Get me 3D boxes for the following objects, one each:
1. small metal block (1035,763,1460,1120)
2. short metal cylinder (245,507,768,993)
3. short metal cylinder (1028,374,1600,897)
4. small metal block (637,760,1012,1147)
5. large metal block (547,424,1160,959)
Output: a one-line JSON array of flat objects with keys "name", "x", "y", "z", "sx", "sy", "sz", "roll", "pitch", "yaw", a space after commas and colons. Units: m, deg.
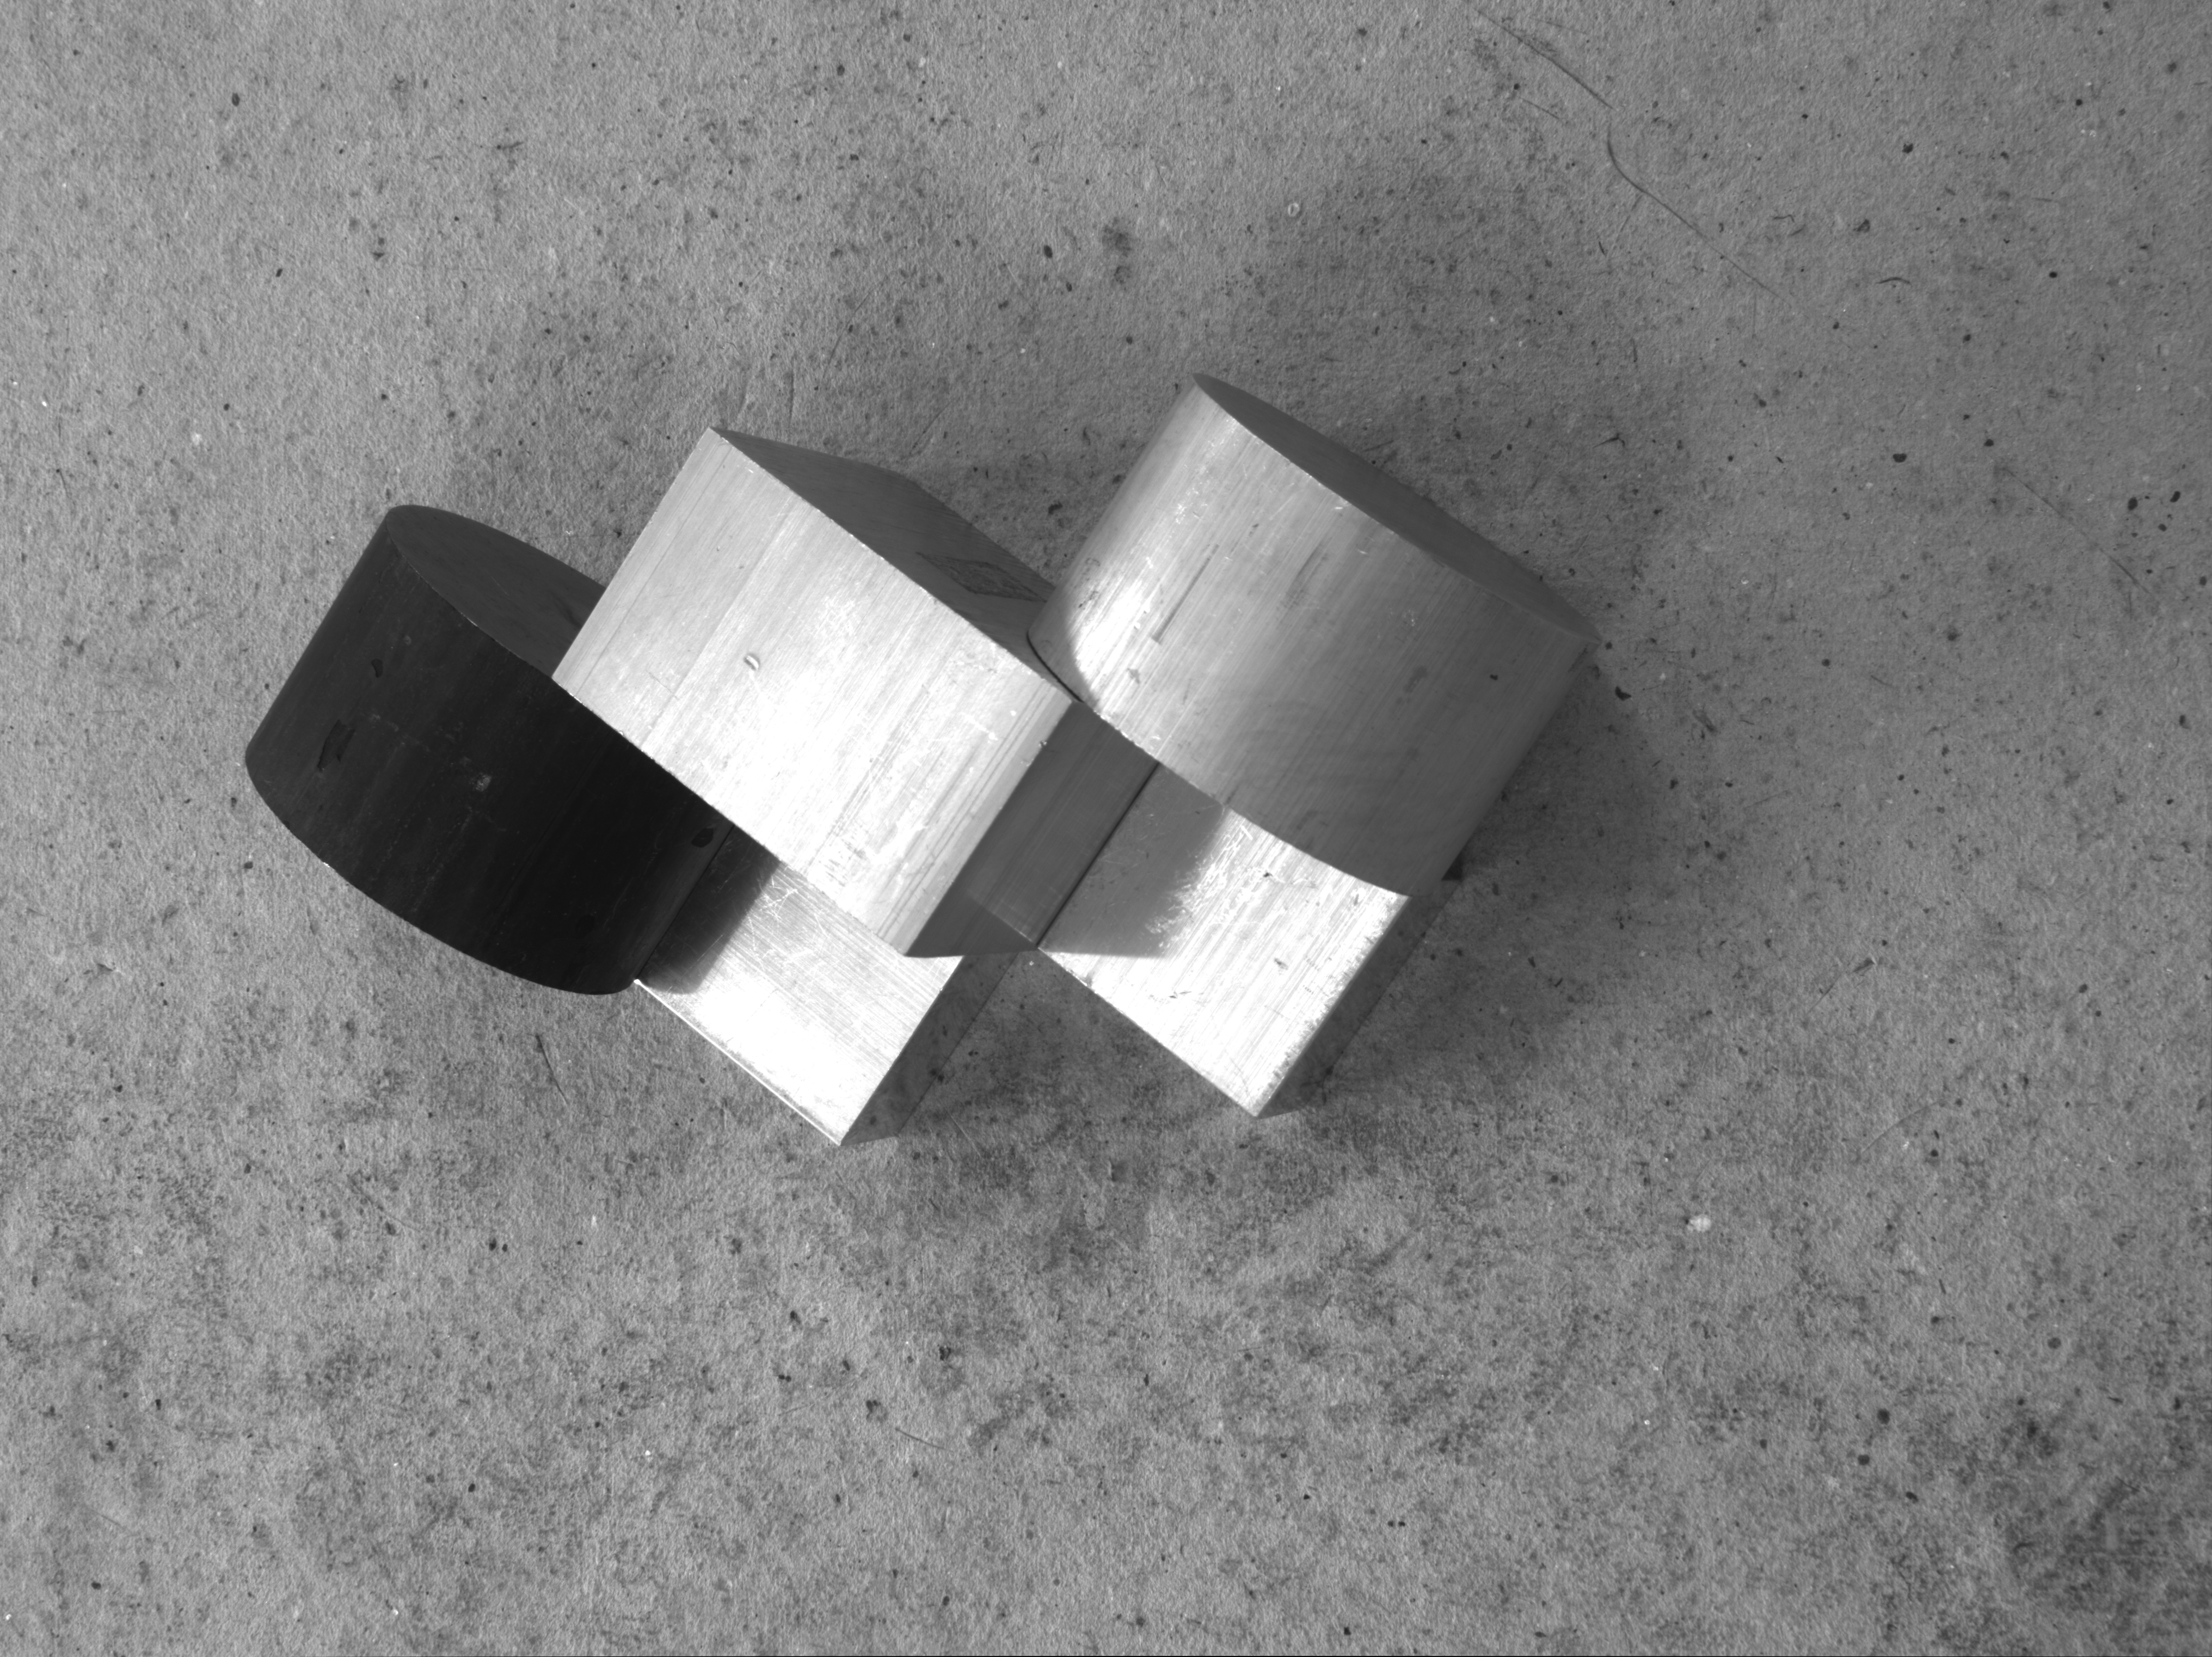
[{"name": "small metal block", "x": 0.025, "y": 0.015, "z": 0.639, "sx": 0.050, "sy": 0.025, "sz": 0.050, "roll": 37, "pitch": 102, "yaw": 16}, {"name": "short metal cylinder", "x": -0.105, "y": -0.014, "z": 0.656, "sx": 0.080, "sy": 0.080, "sz": 0.050, "roll": 37, "pitch": 102, "yaw": 16}, {"name": "short metal cylinder", "x": 0.034, "y": -0.032, "z": 0.605, "sx": 0.080, "sy": 0.080, "sz": 0.050, "roll": 37, "pitch": 102, "yaw": 16}, {"name": "small metal block", "x": -0.049, "y": 0.022, "z": 0.665, "sx": 0.050, "sy": 0.025, "sz": 0.050, "roll": 37, "pitch": 102, "yaw": 16}, {"name": "large metal block", "x": -0.035, "y": -0.022, "z": 0.631, "sx": 0.080, "sy": 0.080, "sz": 0.050, "roll": 37, "pitch": 102, "yaw": 16}]
